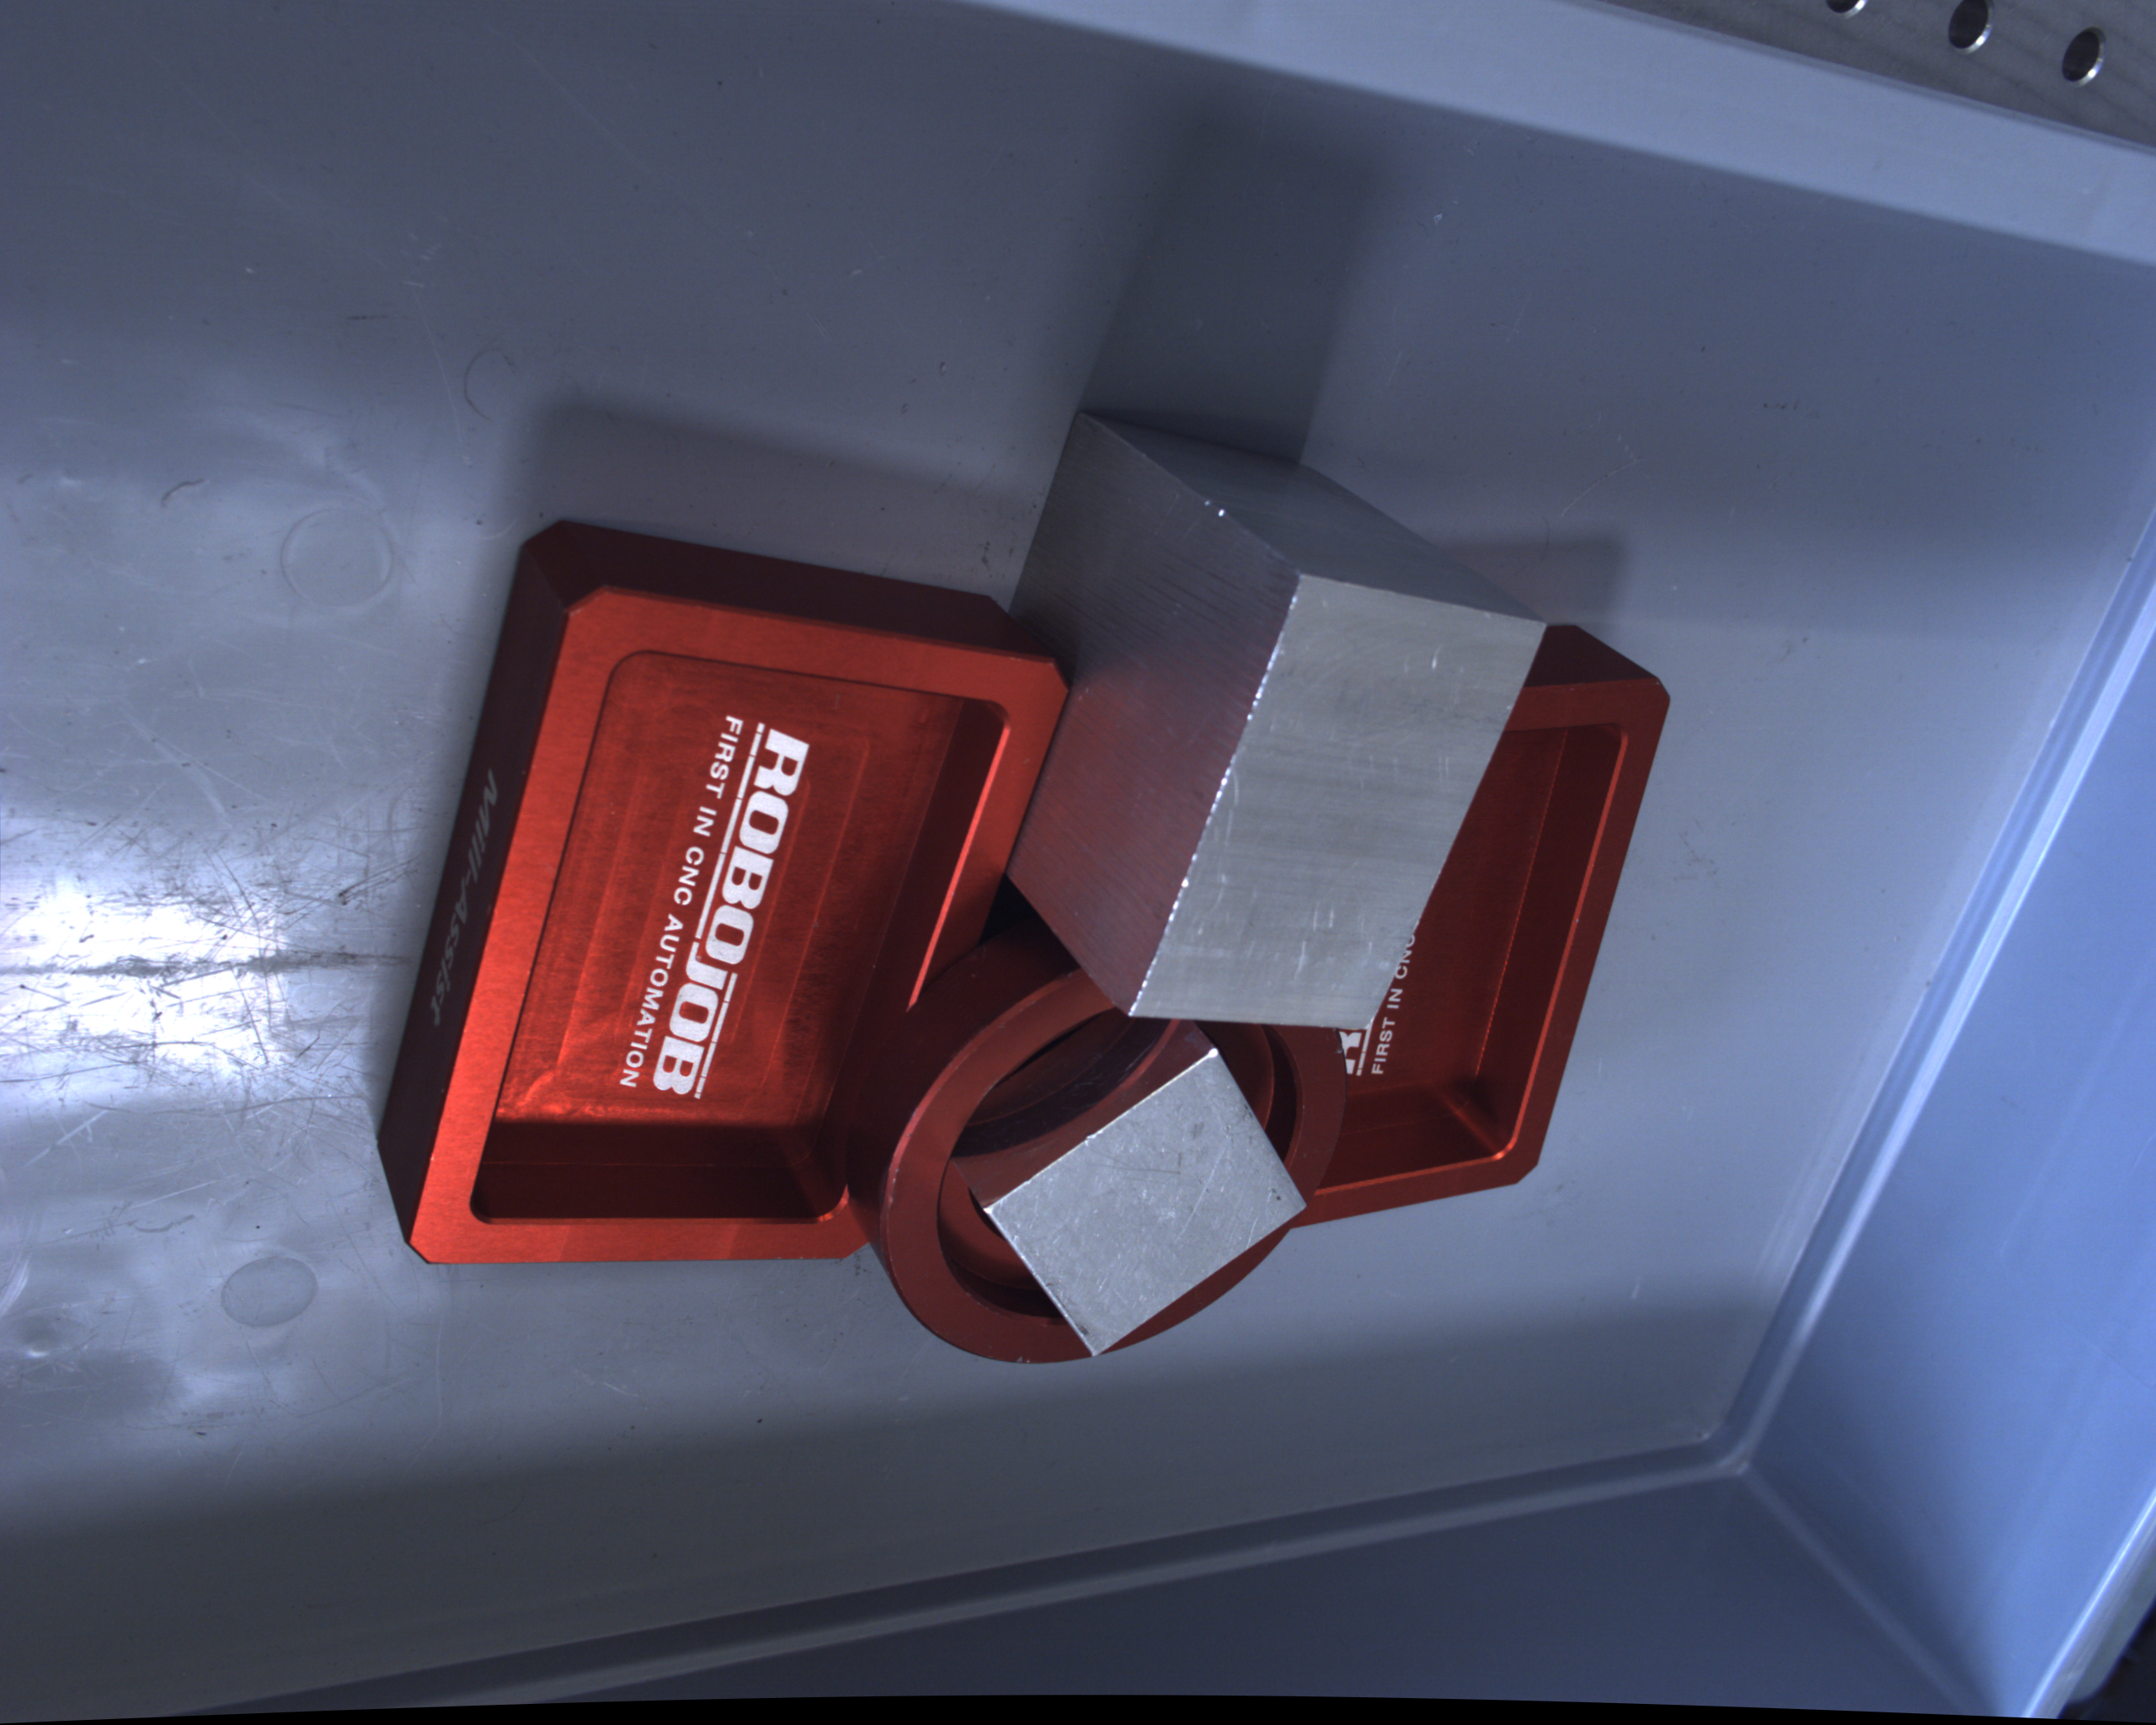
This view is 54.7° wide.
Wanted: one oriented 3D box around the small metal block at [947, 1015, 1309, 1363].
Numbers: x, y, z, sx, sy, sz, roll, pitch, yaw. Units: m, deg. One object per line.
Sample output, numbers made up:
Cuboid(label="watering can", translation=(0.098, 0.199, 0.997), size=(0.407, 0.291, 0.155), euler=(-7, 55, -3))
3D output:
Cuboid(label="small metal block", translation=(0.009, 0.058, 0.393), size=(0.050, 0.025, 0.050), euler=(-34, 129, -6))

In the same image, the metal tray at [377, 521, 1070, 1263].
Cuboid(label="metal tray", translation=(-0.065, 0.011, 0.374), size=(0.091, 0.030, 0.129), euler=(6, 115, -31))

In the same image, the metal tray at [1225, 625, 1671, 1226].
Cuboid(label="metal tray", translation=(0.068, 0.016, 0.450), size=(0.091, 0.030, 0.129), euler=(-6, 121, -25))

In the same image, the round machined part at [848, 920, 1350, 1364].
Cuboid(label="round machined part", translation=(0.001, 0.048, 0.414), size=(0.099, 0.042, 0.097), euler=(-14, 124, -21))

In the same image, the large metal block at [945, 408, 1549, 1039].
Cuboid(label="large metal block", translation=(0.025, -0.025, 0.369), size=(0.050, 0.080, 0.079), euler=(6, 115, -31))
